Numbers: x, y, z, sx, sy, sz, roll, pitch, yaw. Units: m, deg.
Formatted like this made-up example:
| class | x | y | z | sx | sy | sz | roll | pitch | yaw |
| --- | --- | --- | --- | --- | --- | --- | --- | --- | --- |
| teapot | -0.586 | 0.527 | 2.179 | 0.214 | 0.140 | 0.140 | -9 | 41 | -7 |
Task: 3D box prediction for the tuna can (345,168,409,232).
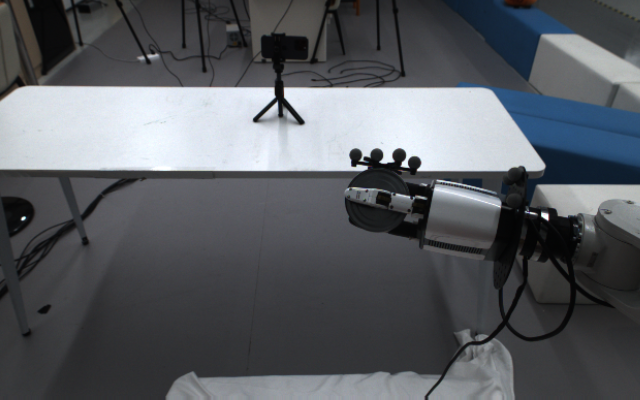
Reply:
| class | x | y | z | sx | sy | sz | roll | pitch | yaw |
| --- | --- | --- | --- | --- | --- | --- | --- | --- | --- |
| tuna can | 0.078 | -0.002 | 0.647 | 0.085 | 0.085 | 0.034 | 11 | -7 | 12 |
